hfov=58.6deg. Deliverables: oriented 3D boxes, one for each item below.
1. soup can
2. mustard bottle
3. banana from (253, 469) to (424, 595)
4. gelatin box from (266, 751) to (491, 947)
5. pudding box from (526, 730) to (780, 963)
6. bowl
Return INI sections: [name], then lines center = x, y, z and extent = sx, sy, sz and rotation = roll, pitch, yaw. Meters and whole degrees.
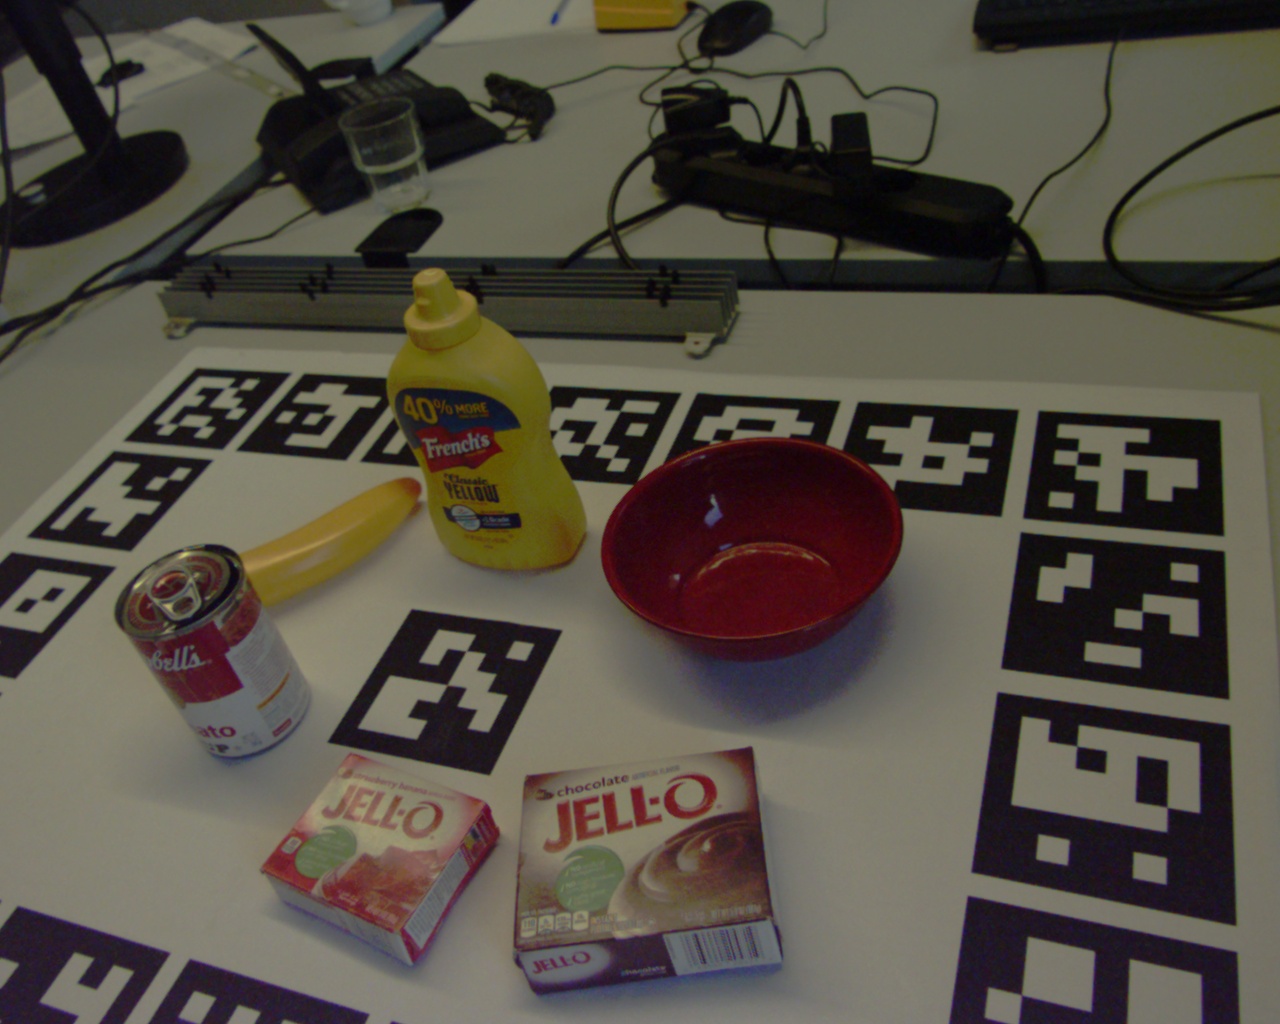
[soup can]
center = -0.237, 0.069, 0.654
extent = 0.068, 0.101, 0.068
rotation = -7, 39, 5
[mustard bottle]
center = -0.098, -0.058, 0.688
extent = 0.097, 0.190, 0.058
rotation = 6, 41, 21
[banana]
center = -0.233, 0.021, 0.772
extent = 0.196, 0.038, 0.075
rotation = -26, 31, -14
[gelatin box]
center = -0.132, 0.167, 0.578
extent = 0.090, 0.030, 0.073
rotation = 10, 49, 27
[pudding box]
center = 0.003, 0.157, 0.542
extent = 0.114, 0.038, 0.090
rotation = -11, 45, 4
[bowl]
center = 0.070, 0.029, 0.663
extent = 0.162, 0.055, 0.162
rotation = -10, 39, 7
